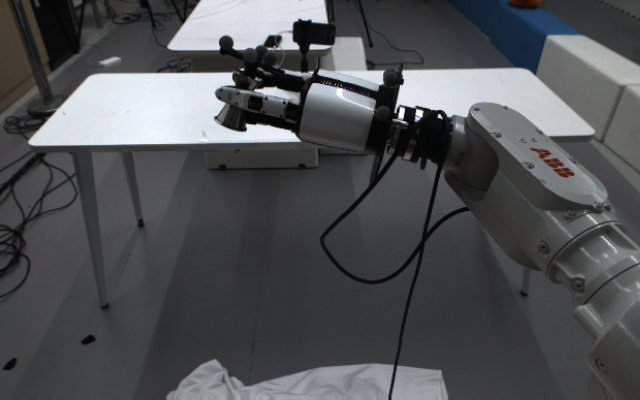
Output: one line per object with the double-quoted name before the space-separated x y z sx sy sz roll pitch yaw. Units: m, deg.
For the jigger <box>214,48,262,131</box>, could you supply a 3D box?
"jigger" -0.103 -0.127 0.614 0.043 0.071 0.043 22 19 -8
